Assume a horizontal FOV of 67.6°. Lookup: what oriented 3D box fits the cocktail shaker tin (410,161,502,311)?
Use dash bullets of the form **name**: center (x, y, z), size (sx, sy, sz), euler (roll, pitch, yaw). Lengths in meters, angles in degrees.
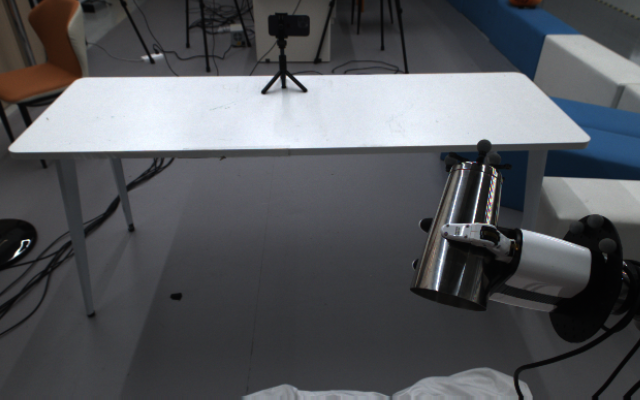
- **cocktail shaker tin**: center (0.178, 0.042, 0.605), size (0.093, 0.093, 0.170), euler (14, 73, 16)
